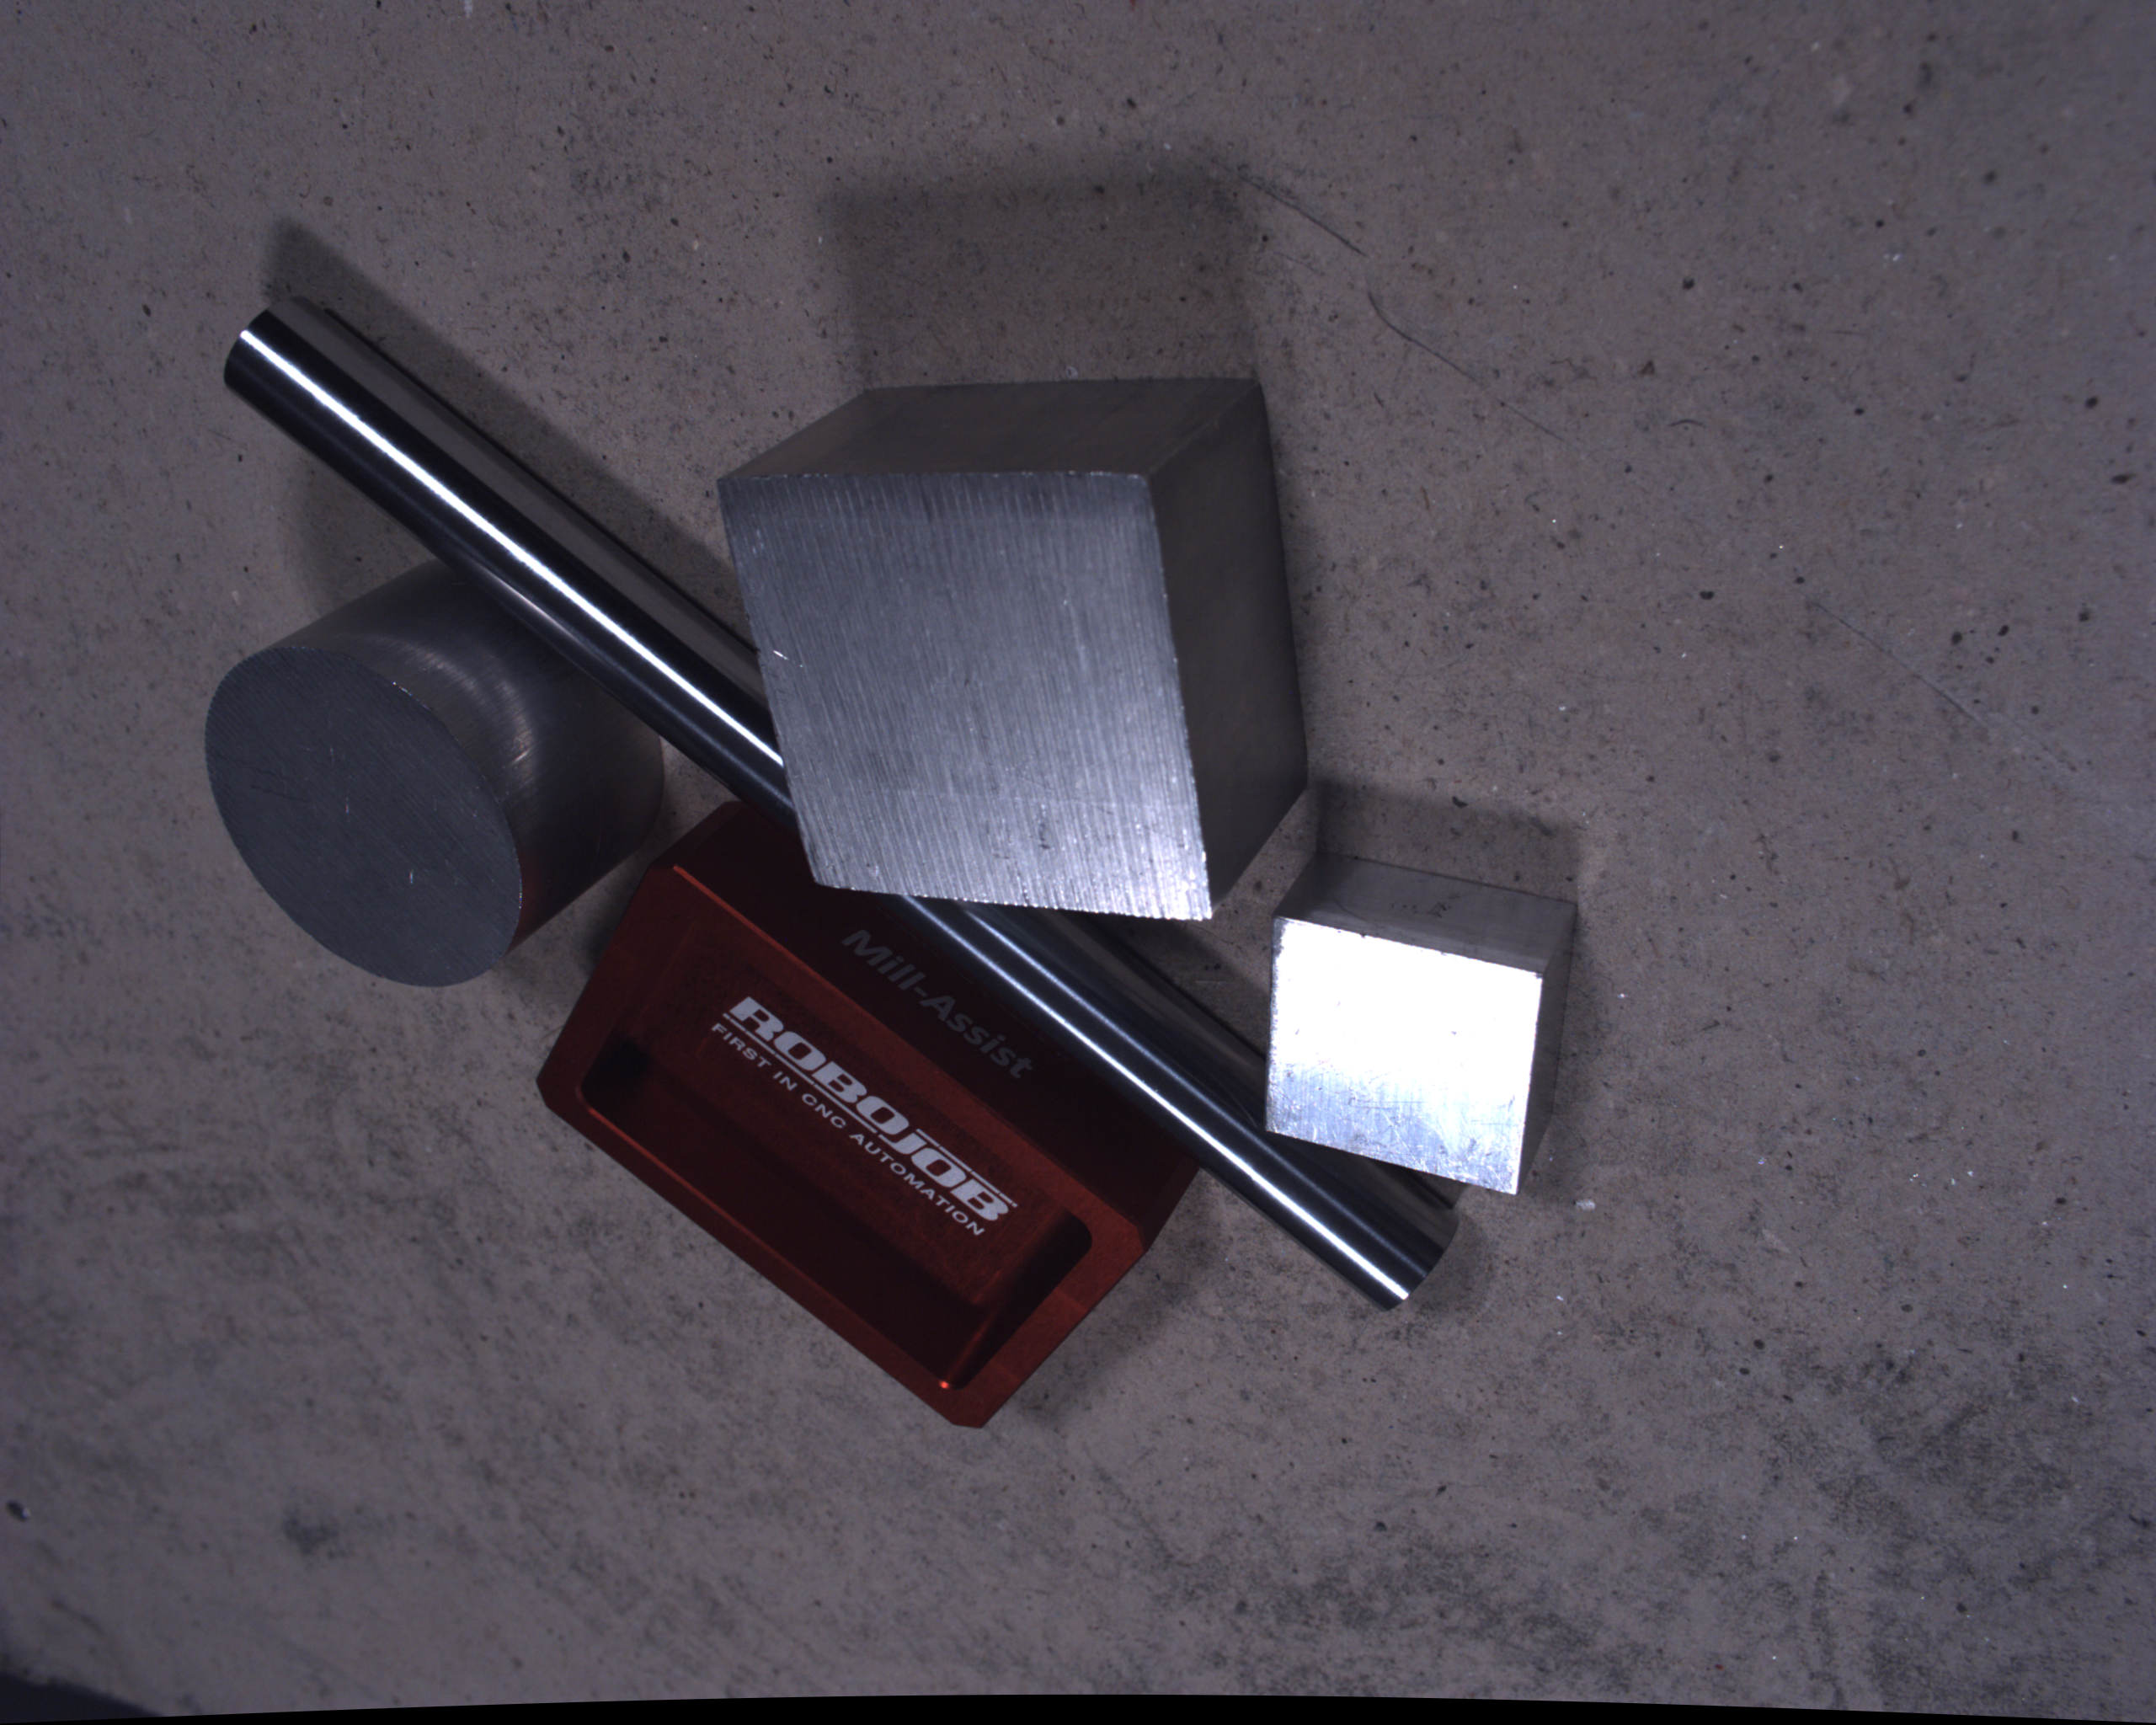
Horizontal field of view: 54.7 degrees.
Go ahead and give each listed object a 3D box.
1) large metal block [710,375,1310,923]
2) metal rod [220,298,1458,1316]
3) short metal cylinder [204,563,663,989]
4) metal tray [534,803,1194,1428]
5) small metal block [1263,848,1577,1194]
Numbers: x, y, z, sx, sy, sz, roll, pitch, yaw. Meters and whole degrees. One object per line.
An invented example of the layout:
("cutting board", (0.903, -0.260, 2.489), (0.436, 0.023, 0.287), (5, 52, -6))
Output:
("large metal block", (-0.009, -0.039, 0.371), (0.080, 0.050, 0.079), (4, 121, 25))
("metal rod", (-0.049, -0.012, 0.424), (0.300, 0.025, 0.025), (39, 129, 1))
("short metal cylinder", (-0.138, -0.020, 0.450), (0.080, 0.050, 0.079), (13, 124, 20))
("metal tray", (-0.050, 0.058, 0.466), (0.130, 0.030, 0.089), (38, 129, 2))
("small metal block", (0.063, 0.029, 0.393), (0.050, 0.025, 0.050), (12, 124, 21))
